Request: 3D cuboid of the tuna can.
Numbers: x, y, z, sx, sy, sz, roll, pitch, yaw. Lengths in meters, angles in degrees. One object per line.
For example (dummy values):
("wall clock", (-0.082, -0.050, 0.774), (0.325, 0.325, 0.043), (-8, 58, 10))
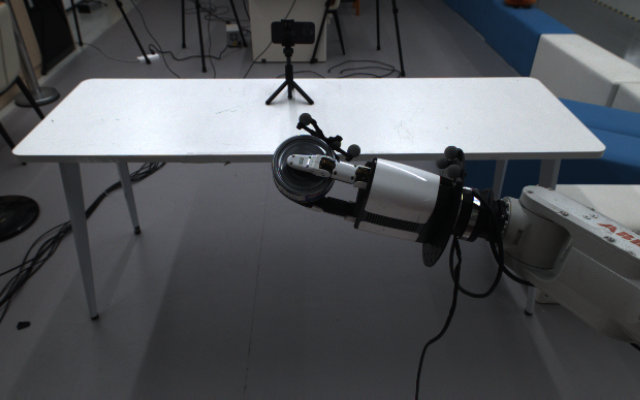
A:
("tuna can", (-0.019, -0.043, 0.638), (0.085, 0.034, 0.085), (0, 74, 0))
